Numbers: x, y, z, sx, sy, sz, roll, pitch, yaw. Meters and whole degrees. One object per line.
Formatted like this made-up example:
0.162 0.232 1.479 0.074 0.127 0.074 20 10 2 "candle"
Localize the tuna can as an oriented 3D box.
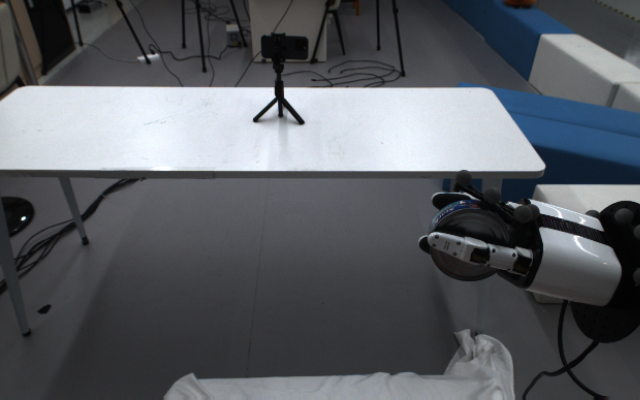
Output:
0.166 0.042 0.535 0.085 0.085 0.034 7 16 6 "tuna can"
